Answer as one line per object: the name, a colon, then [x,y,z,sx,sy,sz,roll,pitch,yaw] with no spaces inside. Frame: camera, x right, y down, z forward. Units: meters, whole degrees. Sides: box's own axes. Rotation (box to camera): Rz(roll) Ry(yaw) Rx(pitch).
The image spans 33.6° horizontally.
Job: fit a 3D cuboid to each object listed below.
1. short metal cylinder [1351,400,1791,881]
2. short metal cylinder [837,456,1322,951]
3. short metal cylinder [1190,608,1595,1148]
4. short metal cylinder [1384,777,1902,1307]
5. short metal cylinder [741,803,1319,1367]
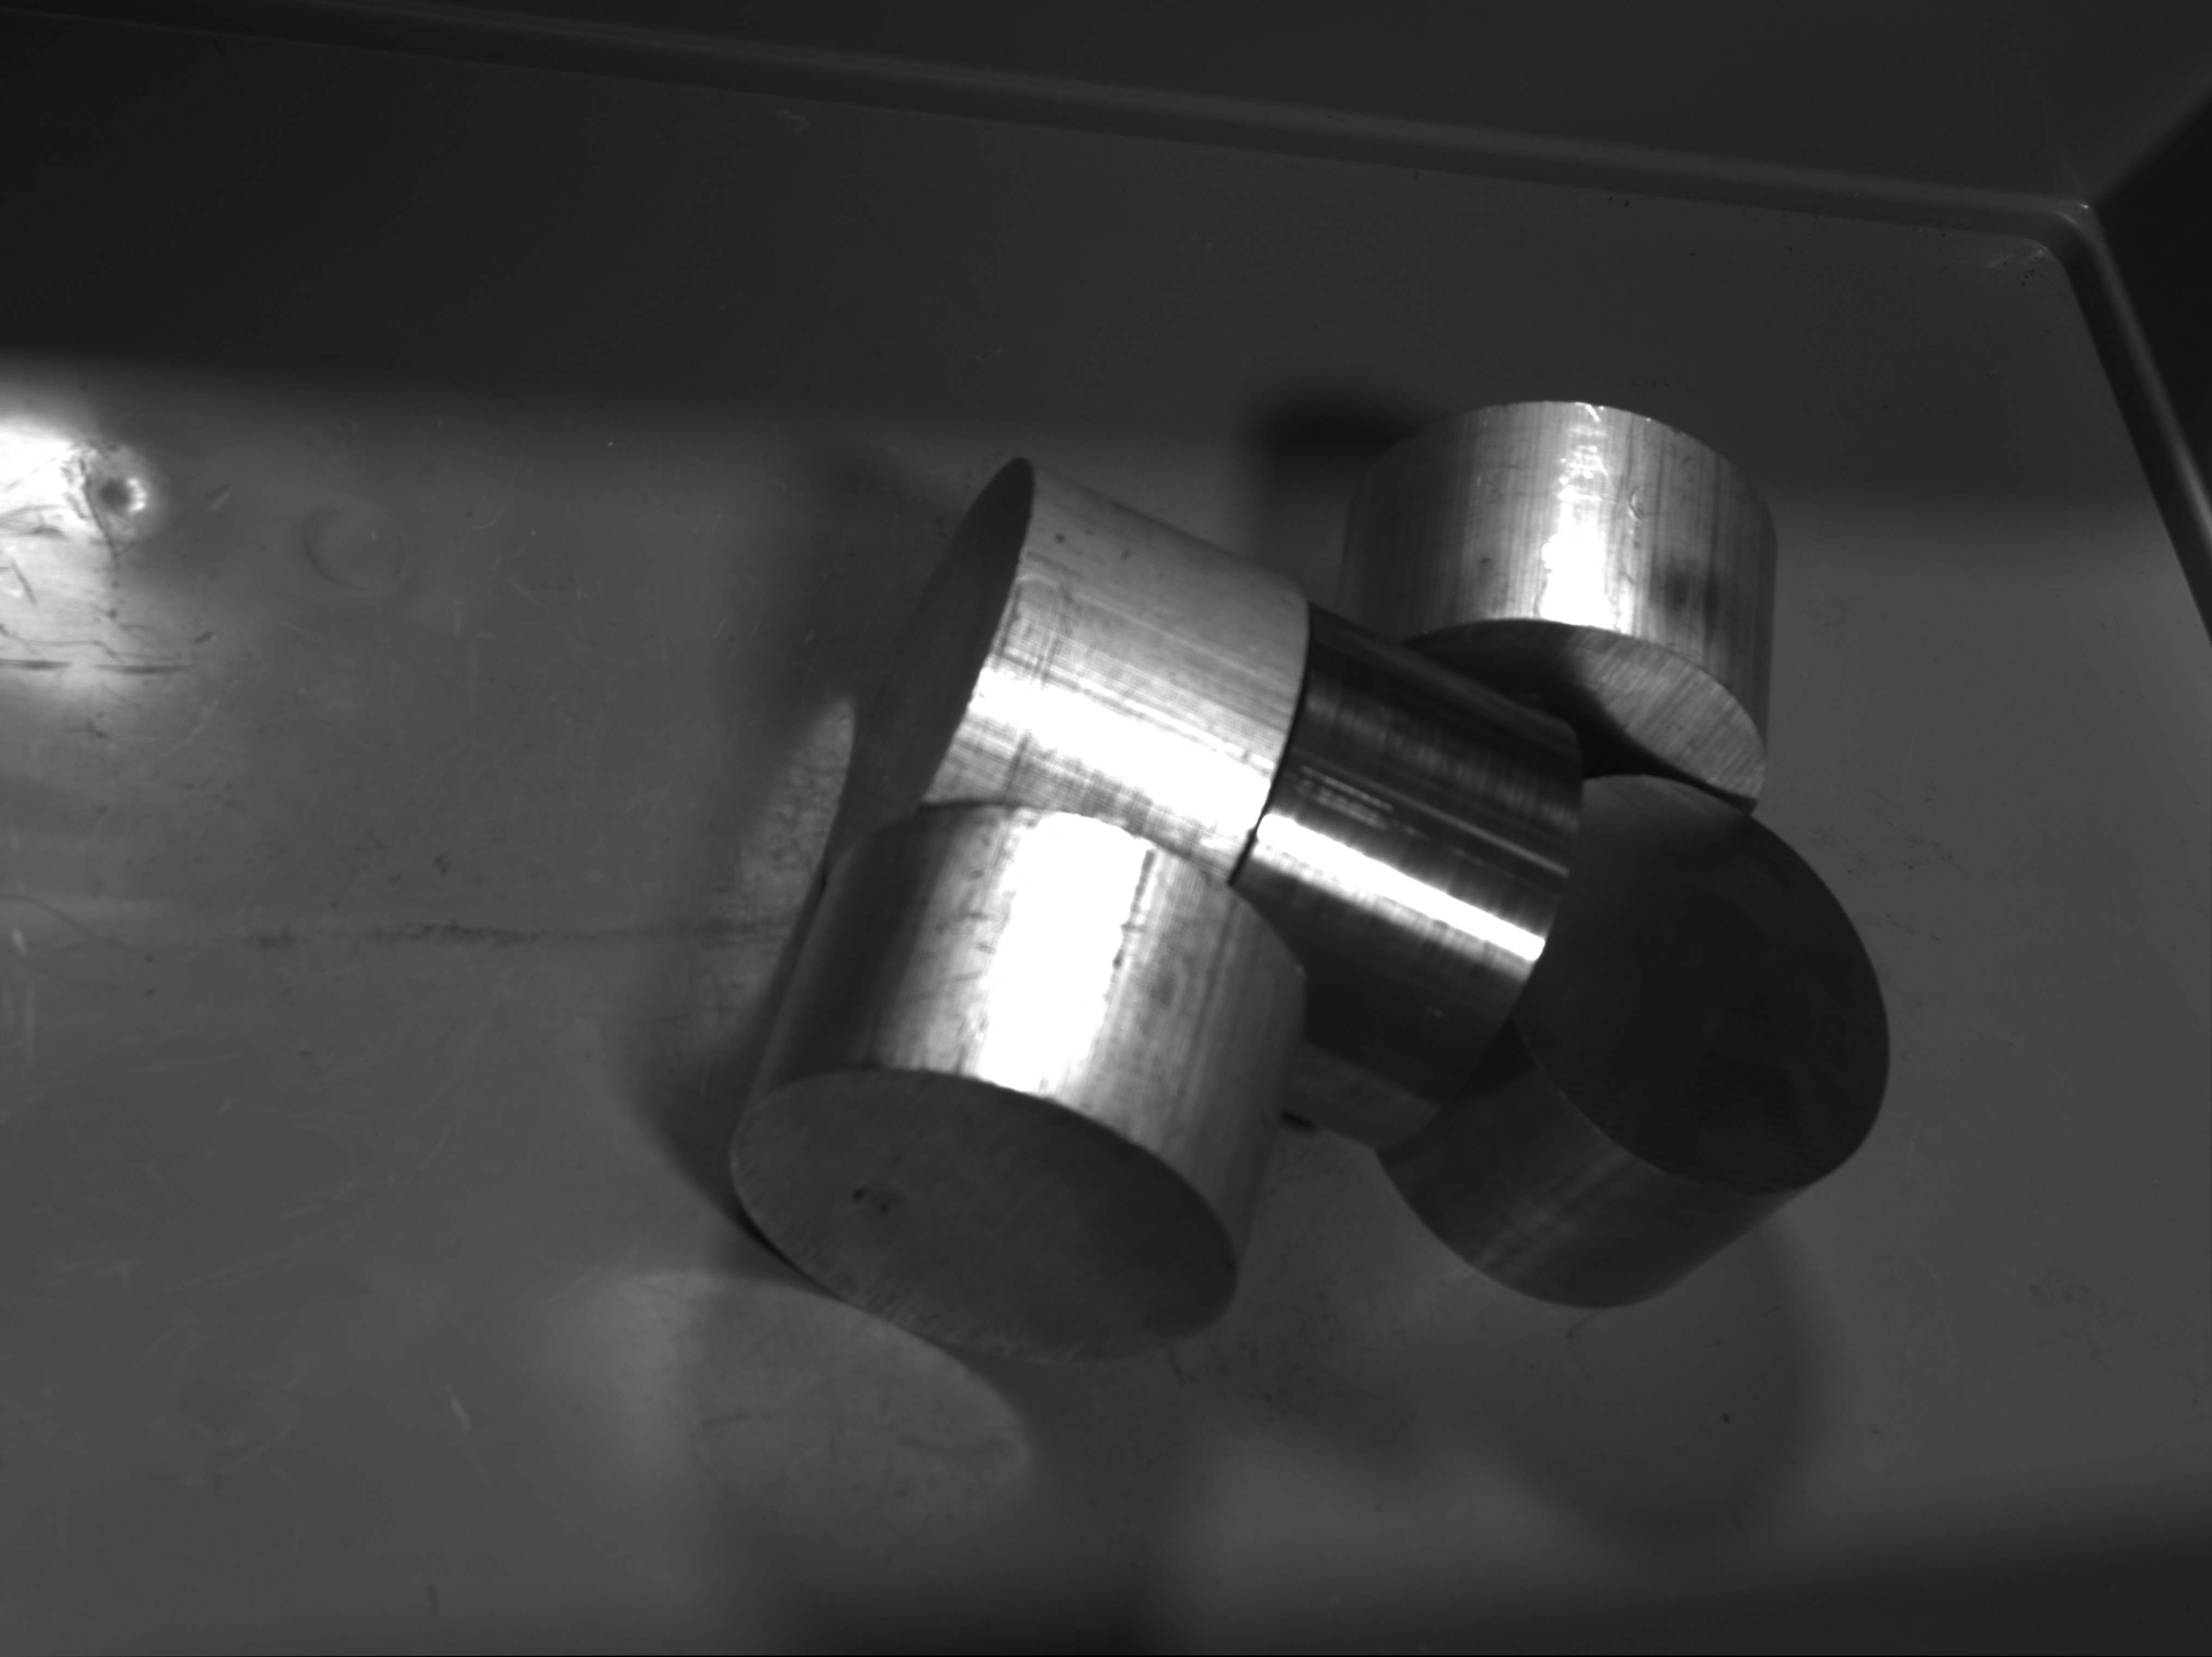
short metal cylinder: [0.083,-0.032,0.667,0.080,0.080,0.050,21,54,-15]
short metal cylinder: [-0.005,-0.015,0.609,0.050,0.080,0.080,23,53,-14]
short metal cylinder: [0.040,0.008,0.621,0.050,0.080,0.080,24,53,-13]
short metal cylinder: [0.093,0.038,0.648,0.080,0.050,0.080,14,56,-21]
short metal cylinder: [-0.011,0.041,0.572,0.080,0.080,0.050,26,52,-12]
